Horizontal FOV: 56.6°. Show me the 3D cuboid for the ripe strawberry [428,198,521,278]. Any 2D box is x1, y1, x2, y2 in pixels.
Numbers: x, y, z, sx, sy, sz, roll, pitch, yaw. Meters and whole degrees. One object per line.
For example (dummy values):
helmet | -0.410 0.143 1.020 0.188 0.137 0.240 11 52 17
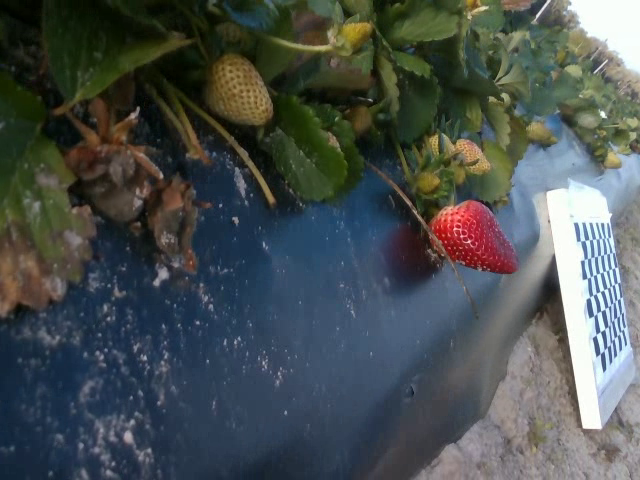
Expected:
ripe strawberry | 0.114 0.000 0.415 0.068 0.044 0.053 43 26 22
